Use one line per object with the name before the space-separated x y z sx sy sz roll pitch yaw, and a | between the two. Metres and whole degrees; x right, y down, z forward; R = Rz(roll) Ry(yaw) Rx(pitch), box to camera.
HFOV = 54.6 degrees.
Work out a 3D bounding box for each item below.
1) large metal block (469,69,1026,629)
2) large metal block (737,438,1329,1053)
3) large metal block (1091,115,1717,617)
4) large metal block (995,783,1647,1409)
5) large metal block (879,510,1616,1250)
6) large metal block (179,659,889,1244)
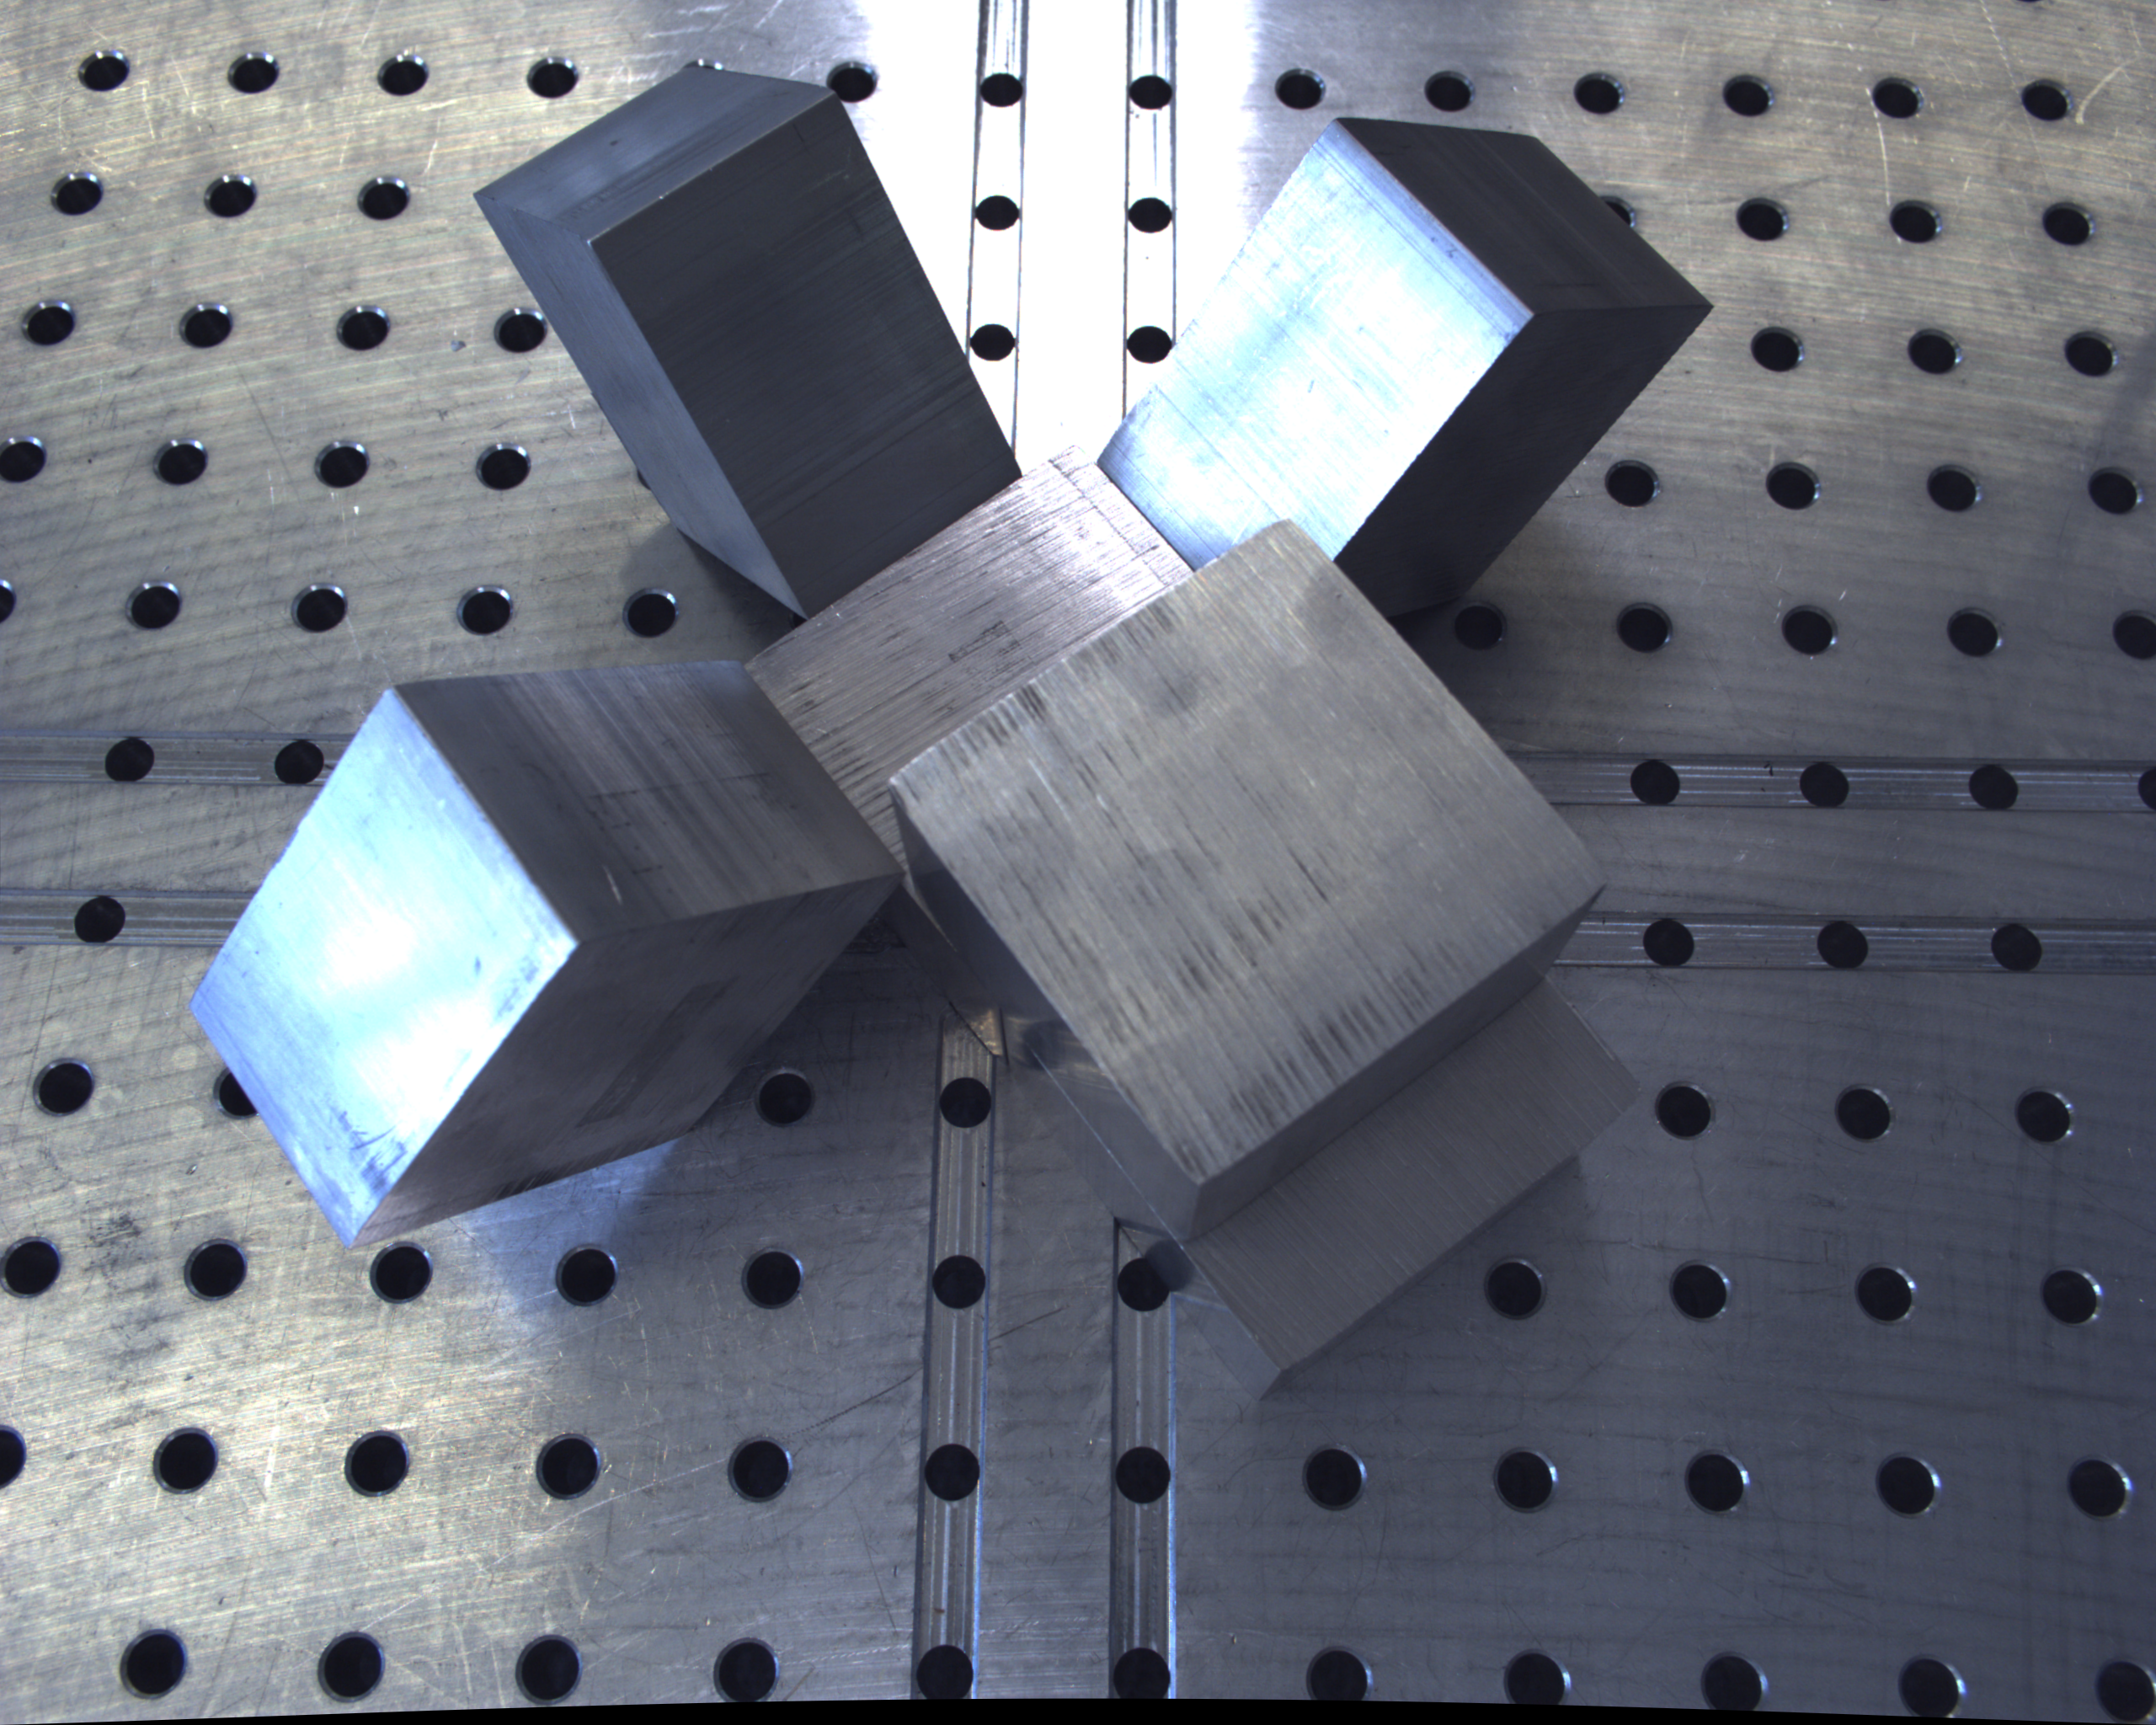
large metal block | -0.064 -0.101 0.403 0.050 0.080 0.080 -36 35 -12
large metal block | -0.007 -0.021 0.406 0.080 0.050 0.080 -36 74 -12
large metal block | 0.063 -0.092 0.400 0.050 0.080 0.081 50 38 16
large metal block | 0.041 0.040 0.383 0.080 0.050 0.080 -35 73 -13
large metal block | 0.025 0.004 0.343 0.080 0.050 0.080 -35 74 -13
large metal block | -0.092 0.012 0.362 0.050 0.080 0.080 50 119 16
